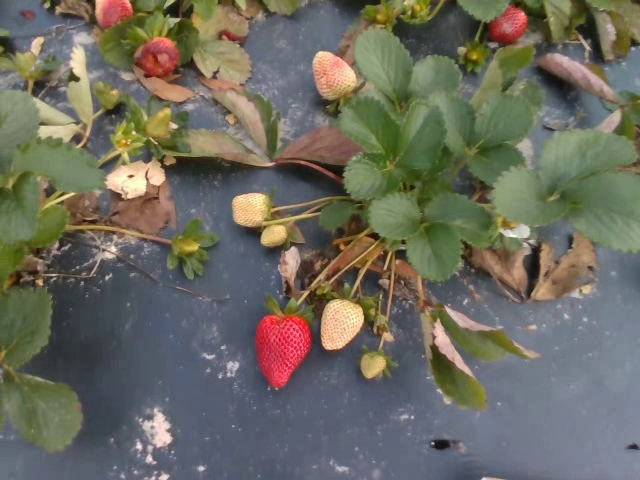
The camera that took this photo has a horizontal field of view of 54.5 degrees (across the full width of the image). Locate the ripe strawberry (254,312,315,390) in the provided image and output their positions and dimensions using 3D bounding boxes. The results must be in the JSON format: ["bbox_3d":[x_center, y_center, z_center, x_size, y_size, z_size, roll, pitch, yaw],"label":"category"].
[{"bbox_3d":[-0.027,0.078,0.441,0.050,0.059,0.034,3,-35,-4],"label":"ripe strawberry"}]
